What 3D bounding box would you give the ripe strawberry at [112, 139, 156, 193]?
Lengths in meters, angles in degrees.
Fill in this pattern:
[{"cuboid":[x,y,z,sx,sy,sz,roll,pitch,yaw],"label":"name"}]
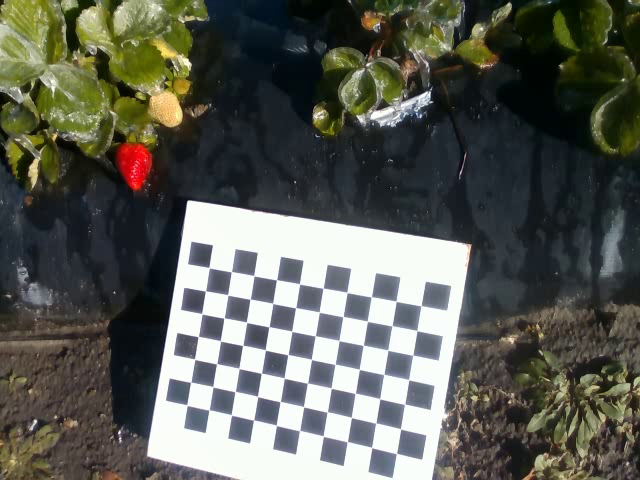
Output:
[{"cuboid":[-0.198,-0.076,0.602,0.041,0.052,0.040,-8,-10,9],"label":"ripe strawberry"}]
